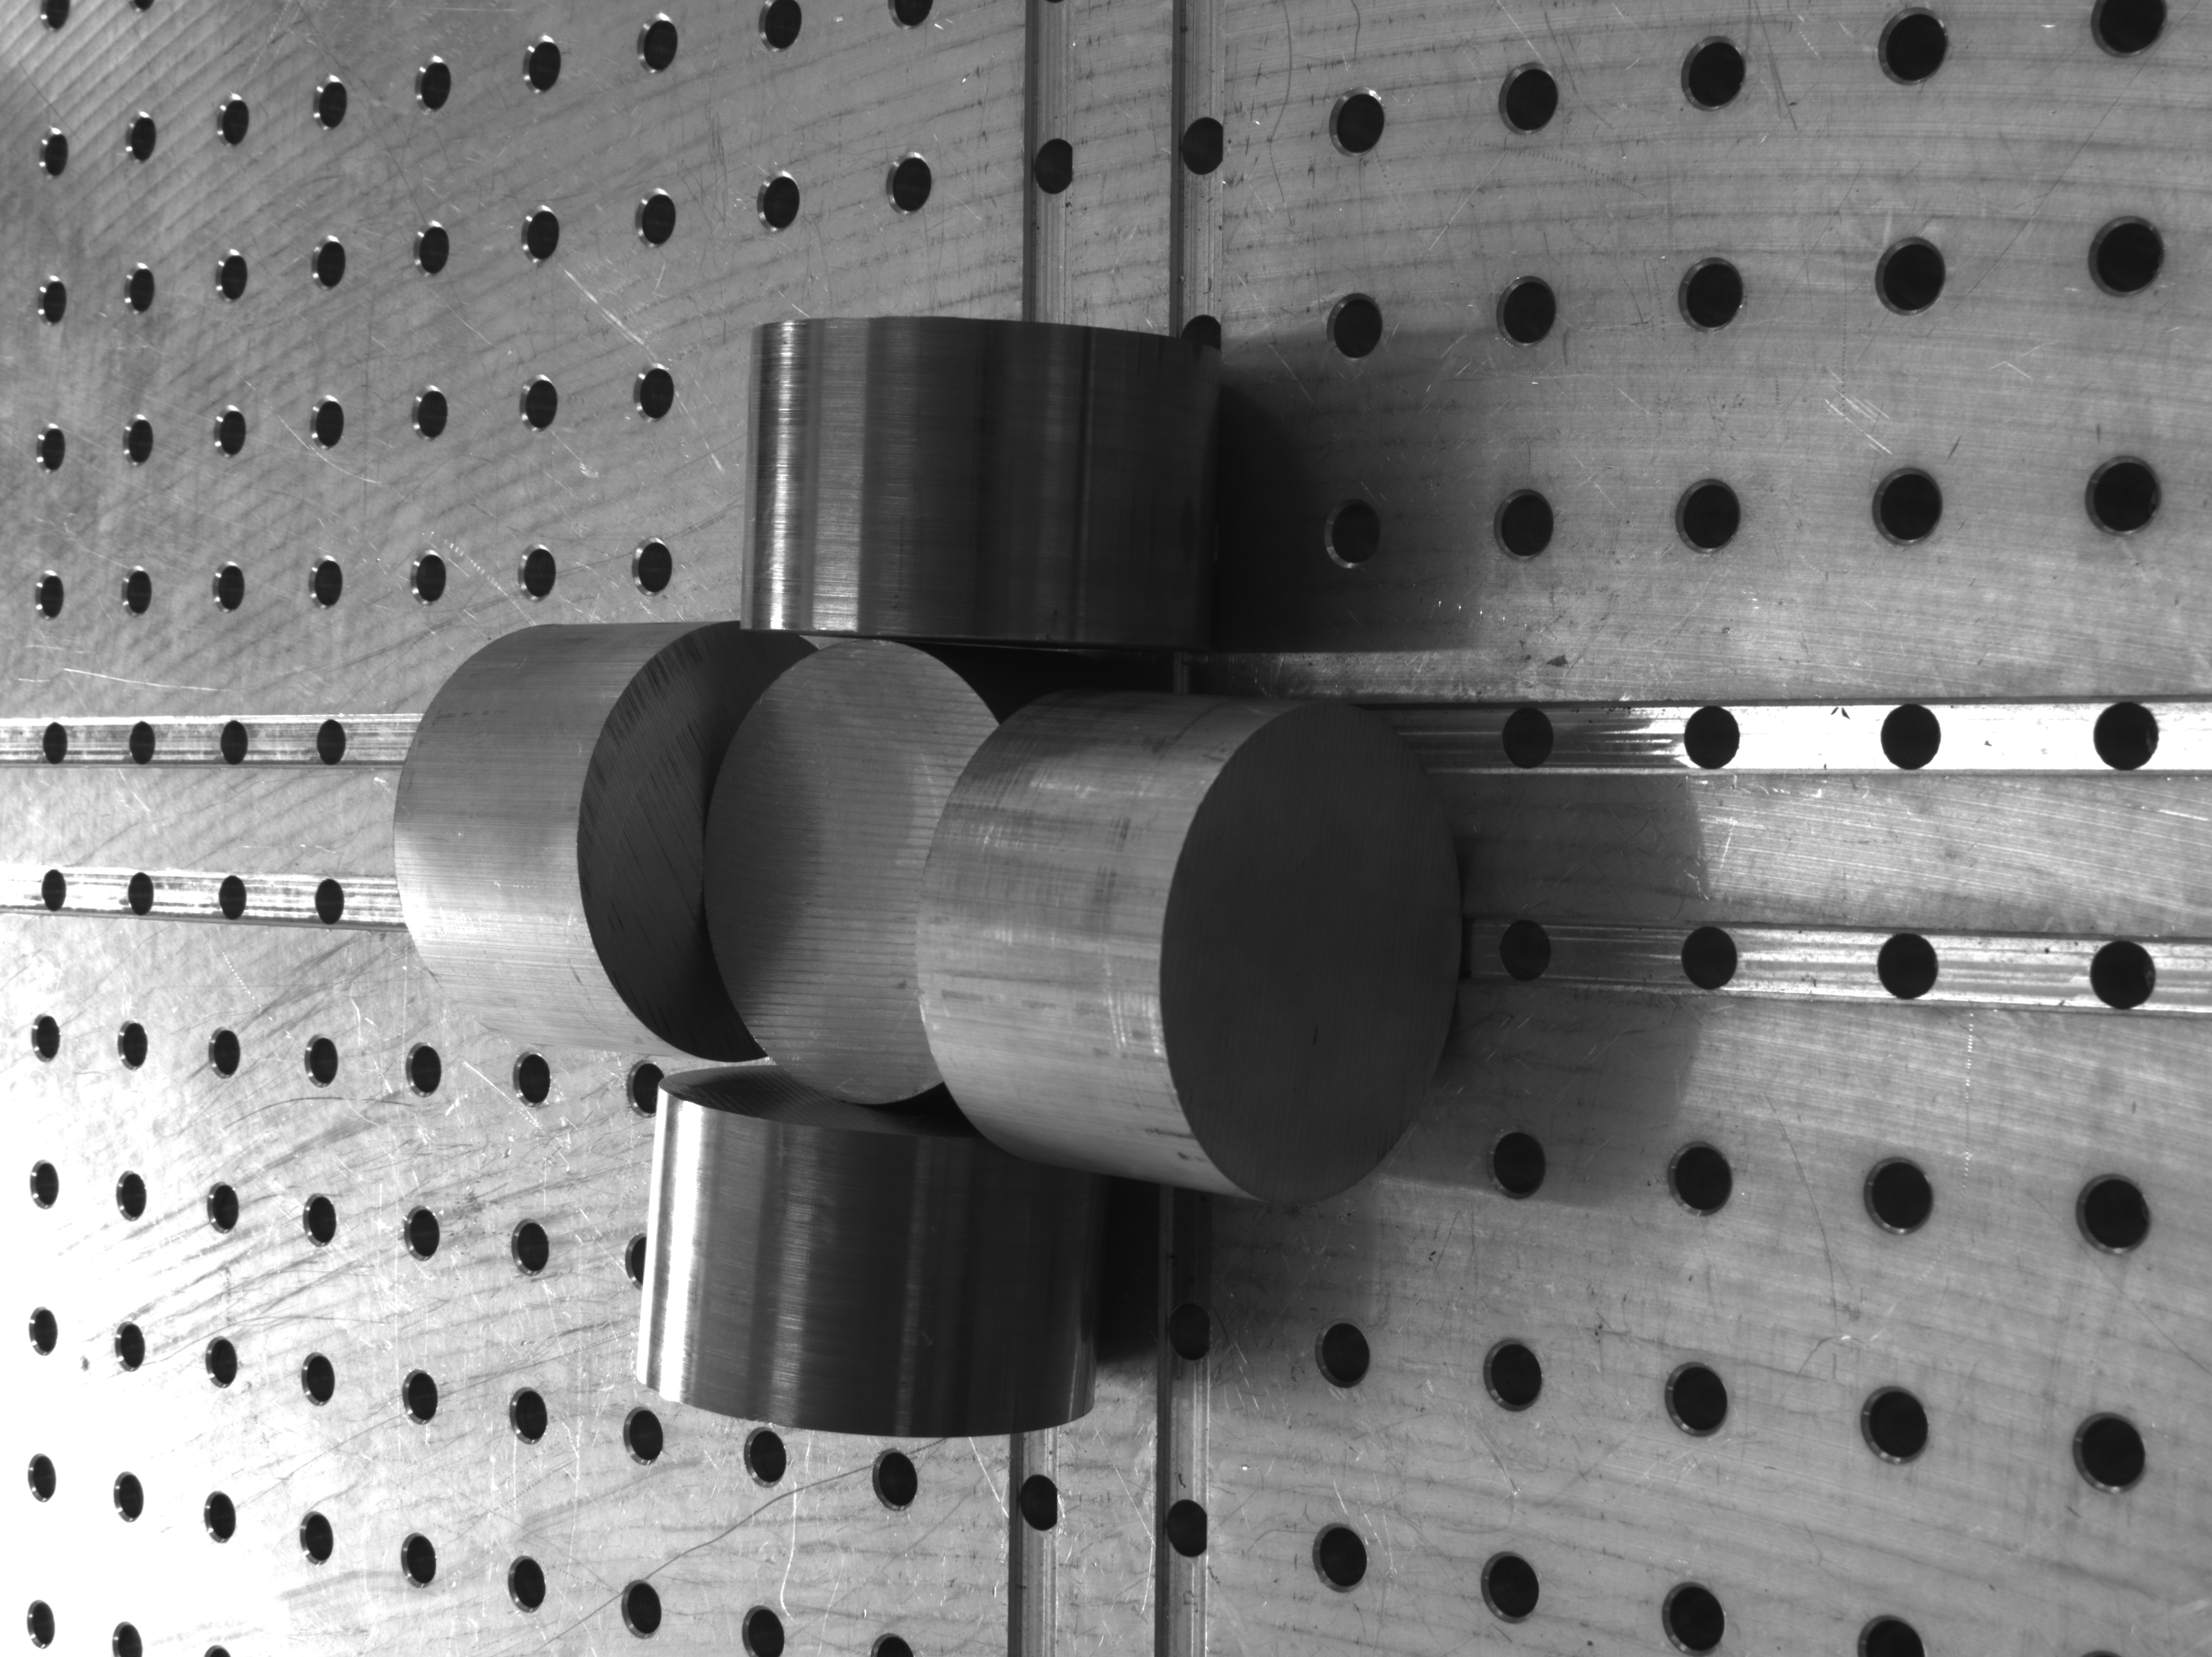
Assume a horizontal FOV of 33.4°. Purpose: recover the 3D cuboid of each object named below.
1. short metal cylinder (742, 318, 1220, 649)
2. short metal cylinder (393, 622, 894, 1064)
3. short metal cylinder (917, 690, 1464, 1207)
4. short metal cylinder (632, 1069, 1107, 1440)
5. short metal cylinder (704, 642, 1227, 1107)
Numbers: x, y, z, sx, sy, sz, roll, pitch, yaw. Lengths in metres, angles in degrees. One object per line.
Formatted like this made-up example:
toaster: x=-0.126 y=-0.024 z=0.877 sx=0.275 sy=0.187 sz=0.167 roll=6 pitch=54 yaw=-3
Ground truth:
short metal cylinder: x=-0.021 y=-0.057 z=0.630 sx=0.080 sy=0.080 sz=0.050 roll=4 pitch=92 yaw=40
short metal cylinder: x=-0.085 y=0.002 z=0.683 sx=0.050 sy=0.080 sz=0.080 roll=2 pitch=91 yaw=39
short metal cylinder: x=0.015 y=0.018 z=0.600 sx=0.050 sy=0.080 sz=0.080 roll=5 pitch=93 yaw=40
short metal cylinder: x=-0.041 y=0.073 z=0.645 sx=0.080 sy=0.080 sz=0.050 roll=8 pitch=94 yaw=40
short metal cylinder: x=-0.025 y=0.008 z=0.654 sx=0.080 sy=0.050 sz=0.080 roll=0 pitch=89 yaw=39
